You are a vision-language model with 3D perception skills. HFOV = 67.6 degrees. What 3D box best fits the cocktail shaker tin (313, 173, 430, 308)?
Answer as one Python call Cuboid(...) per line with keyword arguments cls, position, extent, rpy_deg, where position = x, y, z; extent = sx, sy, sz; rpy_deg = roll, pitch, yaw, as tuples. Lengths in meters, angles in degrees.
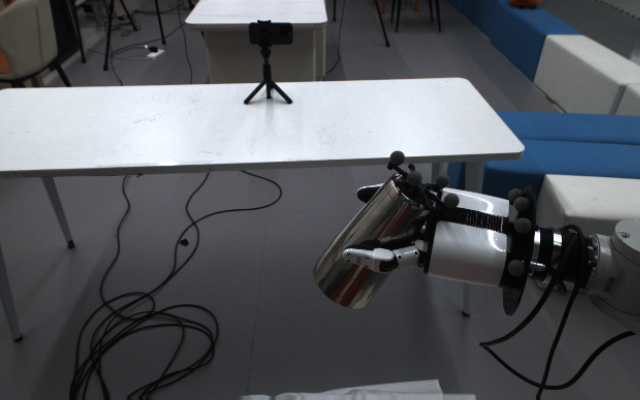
Cuboid(cls="cocktail shaker tin", position=(0.072, 0.046, 0.622), extent=(0.093, 0.170, 0.093), rpy_deg=(26, 31, -17))
